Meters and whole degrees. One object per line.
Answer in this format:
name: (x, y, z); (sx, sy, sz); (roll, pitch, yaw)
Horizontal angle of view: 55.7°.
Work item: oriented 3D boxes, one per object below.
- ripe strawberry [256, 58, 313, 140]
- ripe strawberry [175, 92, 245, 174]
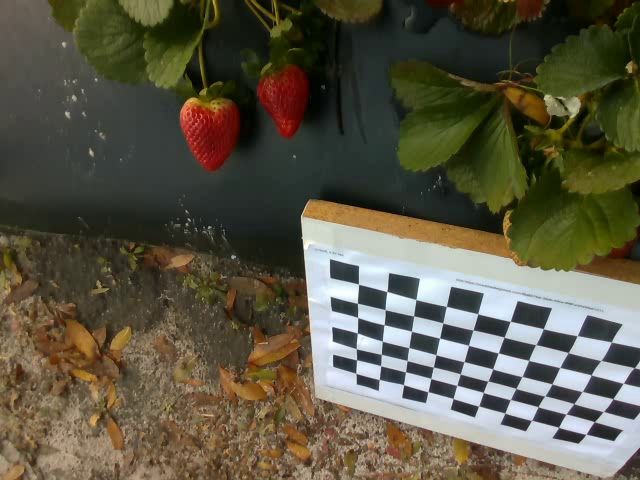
ripe strawberry: (-0.027, -0.094, 0.409); (0.042, 0.053, 0.034); (4, 13, 28)
ripe strawberry: (-0.082, -0.078, 0.443); (0.050, 0.061, 0.045); (8, 12, 24)
